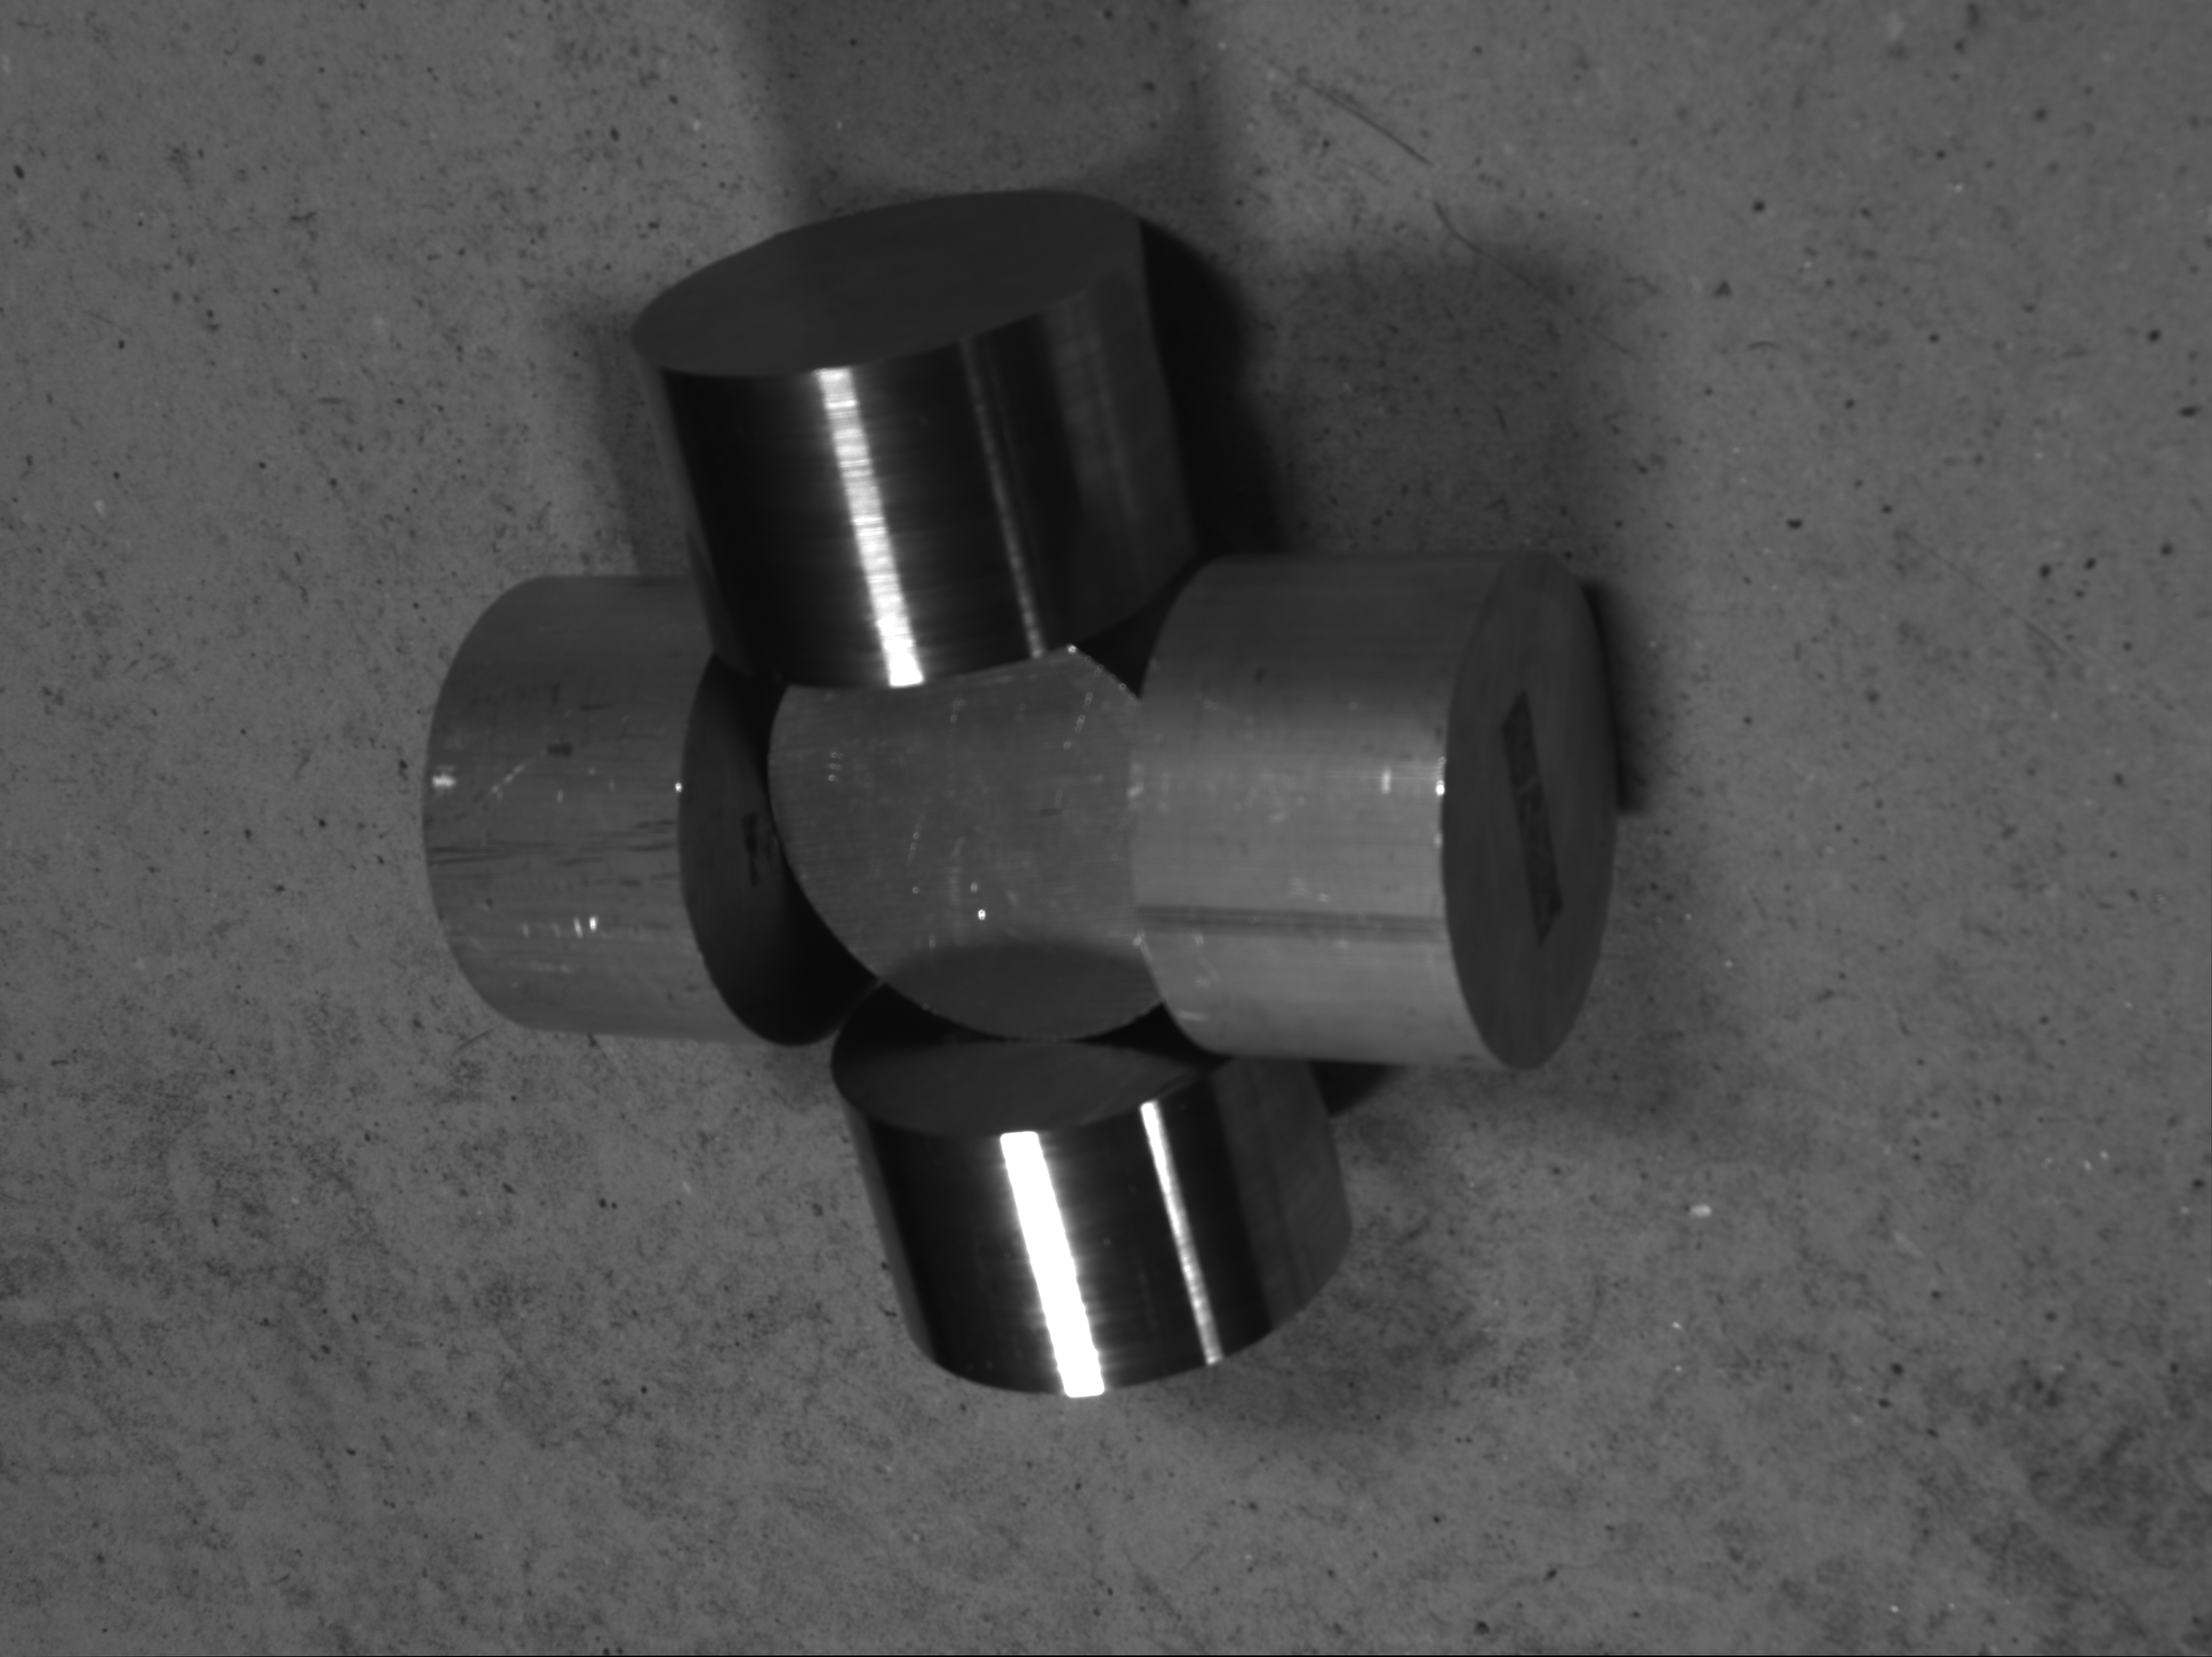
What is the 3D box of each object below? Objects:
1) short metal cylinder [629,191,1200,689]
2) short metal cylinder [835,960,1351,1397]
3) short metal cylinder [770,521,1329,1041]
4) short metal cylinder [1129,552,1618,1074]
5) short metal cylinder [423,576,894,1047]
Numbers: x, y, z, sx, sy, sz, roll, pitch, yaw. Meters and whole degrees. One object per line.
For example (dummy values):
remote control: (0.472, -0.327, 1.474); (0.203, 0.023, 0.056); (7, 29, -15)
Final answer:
short metal cylinder: (-0.029, -0.062, 0.573); (0.080, 0.080, 0.050); (1, 119, 26)
short metal cylinder: (-0.002, 0.054, 0.629); (0.080, 0.080, 0.050); (0, 118, 27)
short metal cylinder: (-0.009, -0.012, 0.613); (0.080, 0.050, 0.080); (12, 123, 20)
short metal cylinder: (0.044, -0.003, 0.573); (0.050, 0.080, 0.080); (2, 119, 26)
short metal cylinder: (-0.073, -0.004, 0.631); (0.050, 0.080, 0.080); (2, 119, 26)
